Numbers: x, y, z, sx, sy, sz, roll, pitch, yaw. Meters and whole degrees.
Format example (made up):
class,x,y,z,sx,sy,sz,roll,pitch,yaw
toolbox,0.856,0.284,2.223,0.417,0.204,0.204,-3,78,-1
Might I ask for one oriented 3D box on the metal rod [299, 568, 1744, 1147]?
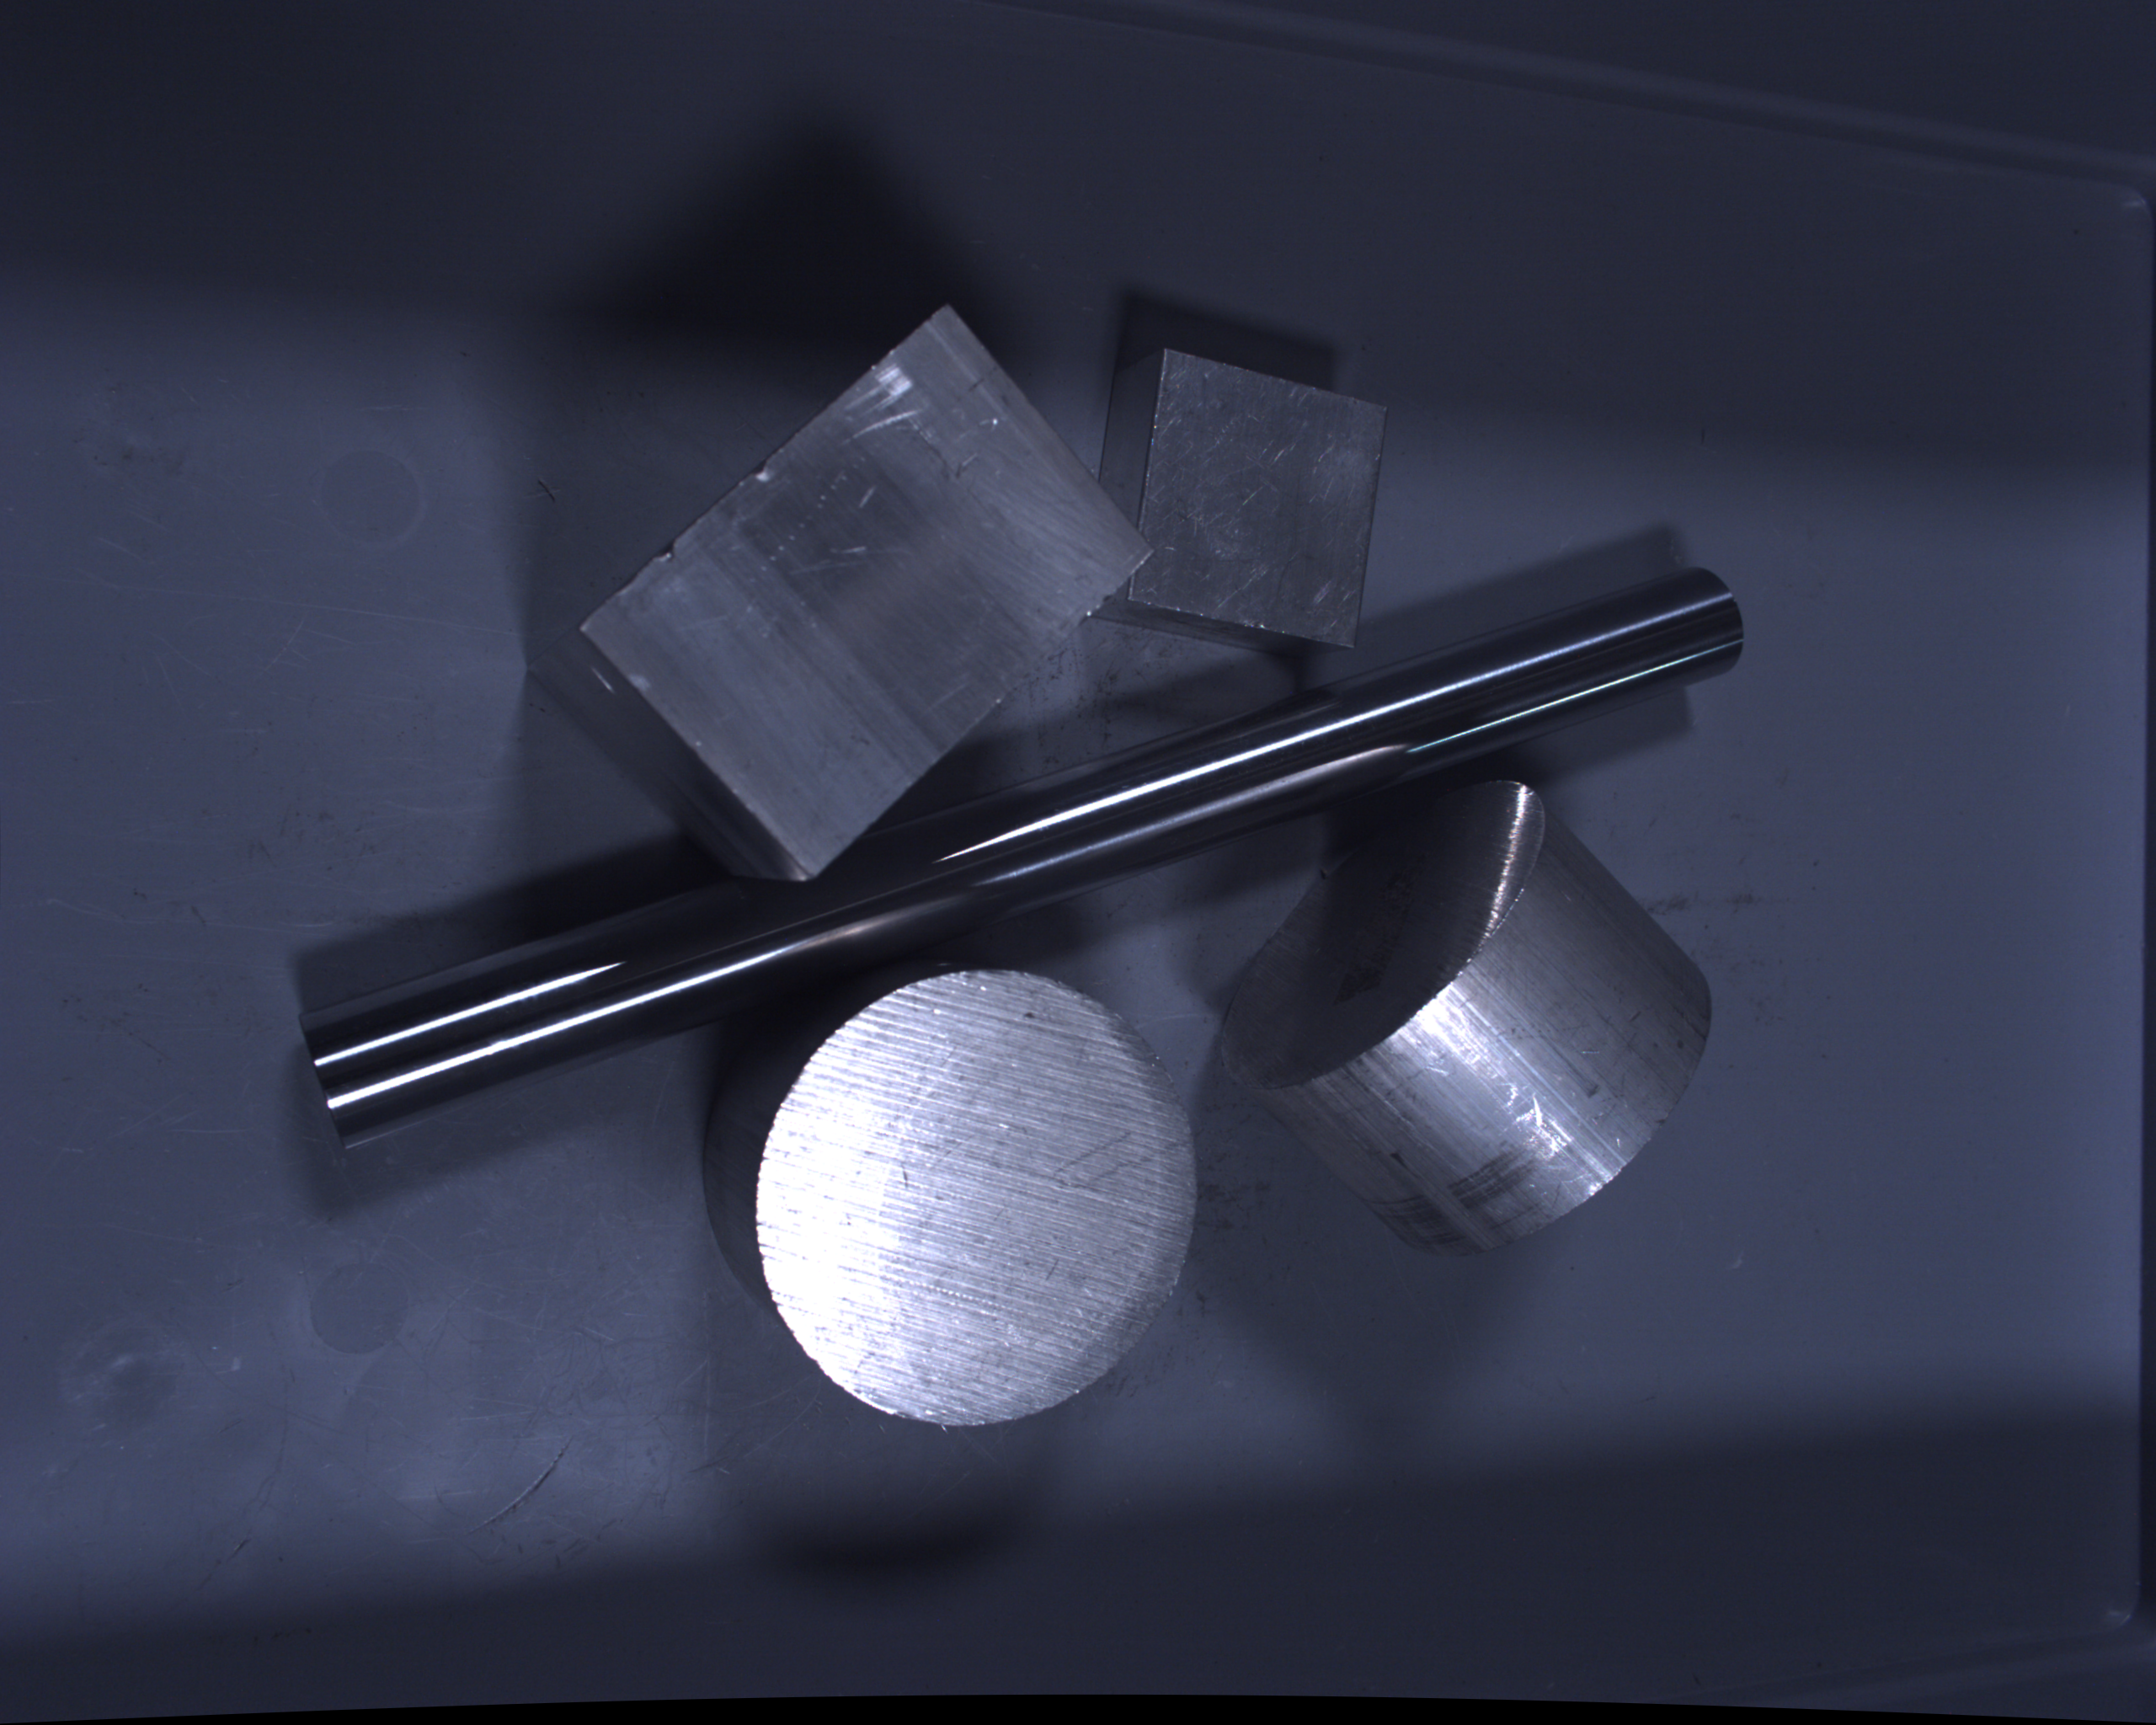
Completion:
class,x,y,z,sx,sy,sz,roll,pitch,yaw
metal rod,0.004,-0.008,0.412,0.302,0.025,0.025,-19,97,-20

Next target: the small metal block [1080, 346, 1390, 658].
class,x,y,z,sx,sy,sz,roll,pitch,yaw
small metal block,0.032,-0.072,0.422,0.050,0.025,0.050,9,87,-20

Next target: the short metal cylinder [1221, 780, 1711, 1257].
class,x,y,z,sx,sy,sz,roll,pitch,yaw
short metal cylinder,0.075,0.030,0.409,0.050,0.080,0.080,45,76,-15

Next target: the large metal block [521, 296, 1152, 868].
class,x,y,z,sx,sy,sz,roll,pitch,yaw
large metal block,-0.045,-0.045,0.364,0.080,0.080,0.050,-45,105,-15

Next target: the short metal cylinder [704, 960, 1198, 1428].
class,x,y,z,sx,sy,sz,roll,pitch,yaw
short metal cylinder,-0.025,0.058,0.387,0.081,0.050,0.079,0,90,-21
